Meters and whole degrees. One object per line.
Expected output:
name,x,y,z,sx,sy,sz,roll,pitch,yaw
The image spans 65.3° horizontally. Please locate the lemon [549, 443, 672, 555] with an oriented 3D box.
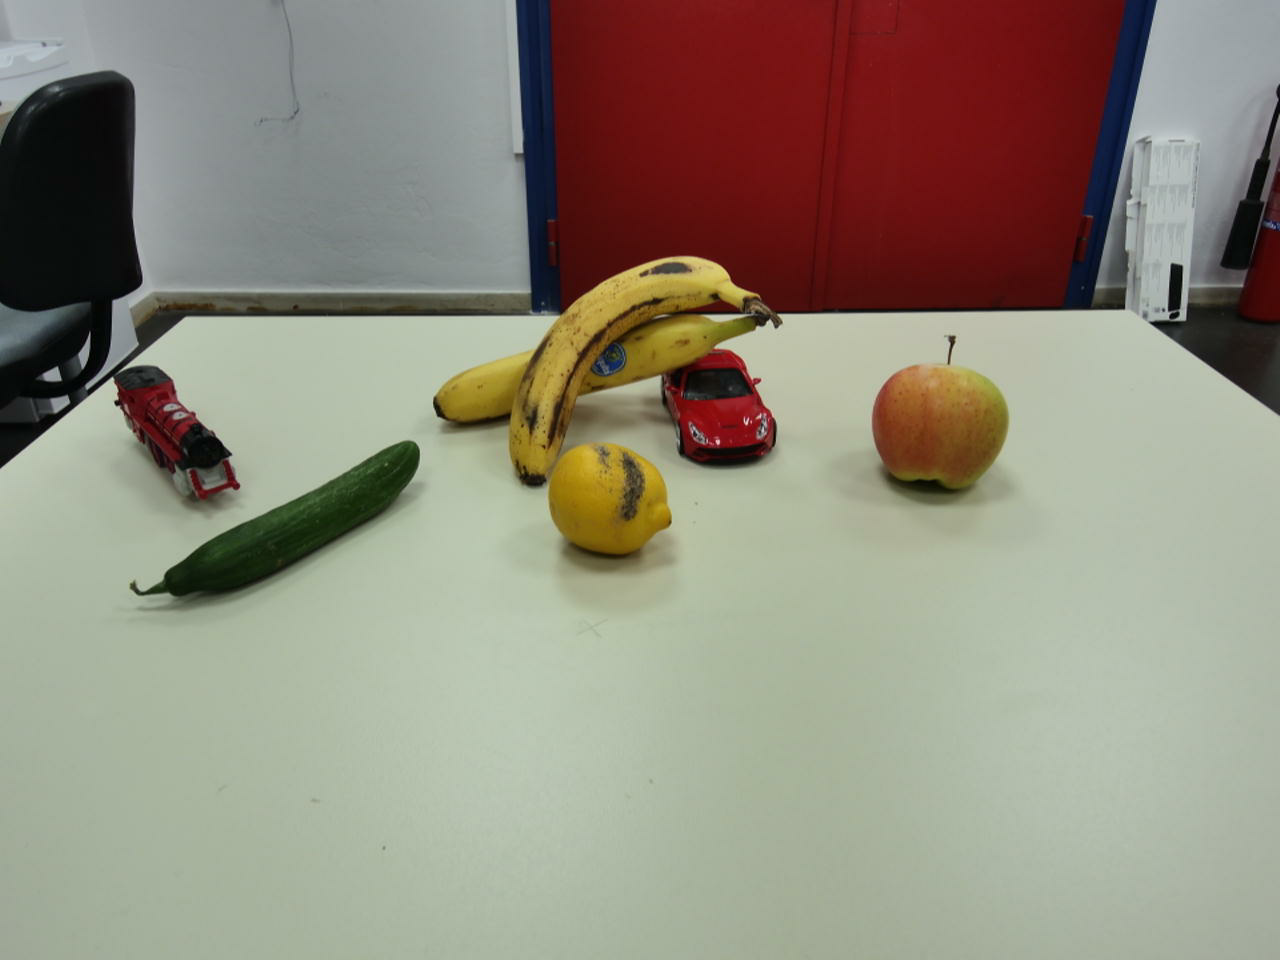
lemon,-0.017,0.009,0.515,0.061,0.056,0.058,-5,26,-7
